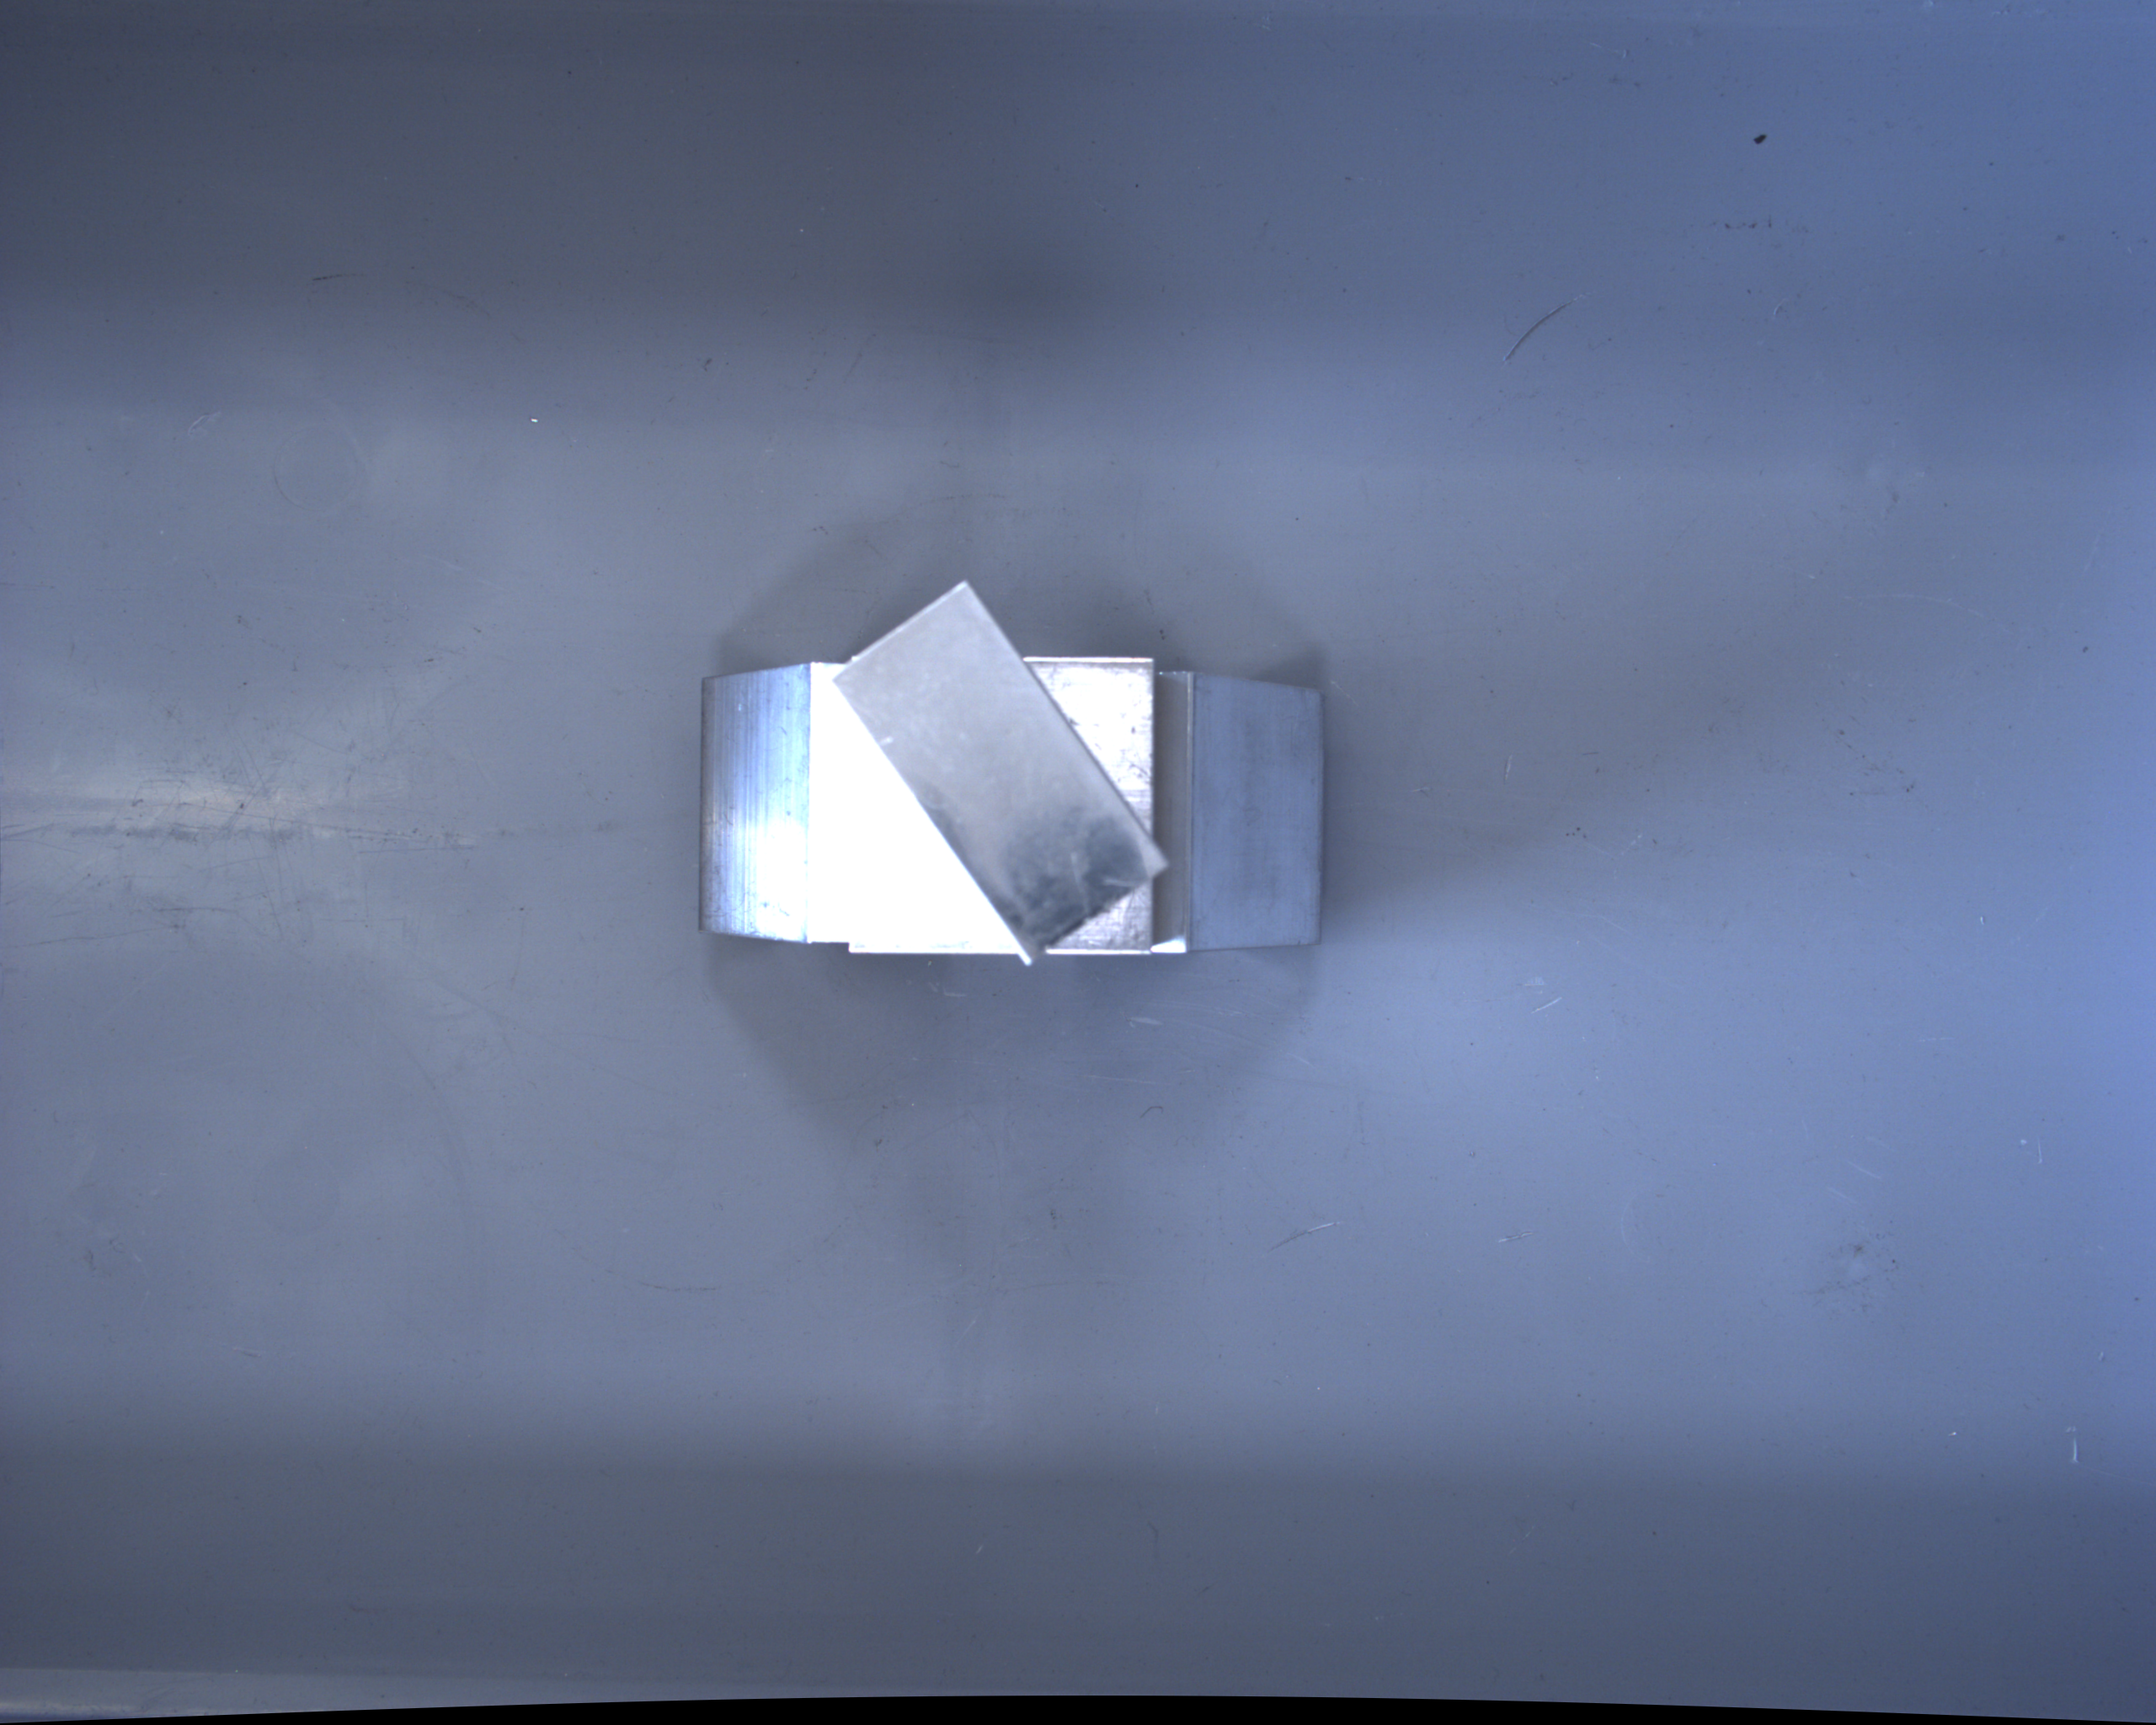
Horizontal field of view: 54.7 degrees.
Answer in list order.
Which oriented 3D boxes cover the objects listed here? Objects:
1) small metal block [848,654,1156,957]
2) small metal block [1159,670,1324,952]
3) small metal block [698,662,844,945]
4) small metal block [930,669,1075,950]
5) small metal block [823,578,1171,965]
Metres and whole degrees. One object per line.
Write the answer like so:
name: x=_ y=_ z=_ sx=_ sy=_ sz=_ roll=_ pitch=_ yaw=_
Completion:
small metal block: x=-0.013 y=-0.009 z=0.359 sx=0.050 sy=0.025 sz=0.050 roll=1 pitch=90 yaw=0
small metal block: x=0.023 y=-0.009 z=0.395 sx=0.025 sy=0.050 sz=0.050 roll=1 pitch=90 yaw=34
small metal block: x=-0.050 y=-0.011 z=0.394 sx=0.025 sy=0.050 sz=0.050 roll=1 pitch=90 yaw=-34
small metal block: x=-0.013 y=-0.009 z=0.397 sx=0.025 sy=0.050 sz=0.050 roll=1 pitch=90 yaw=0
small metal block: x=-0.011 y=-0.013 z=0.321 sx=0.025 sy=0.050 sz=0.050 roll=-35 pitch=90 yaw=1
